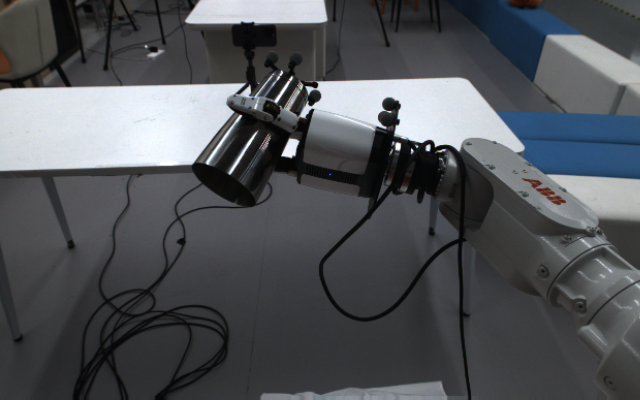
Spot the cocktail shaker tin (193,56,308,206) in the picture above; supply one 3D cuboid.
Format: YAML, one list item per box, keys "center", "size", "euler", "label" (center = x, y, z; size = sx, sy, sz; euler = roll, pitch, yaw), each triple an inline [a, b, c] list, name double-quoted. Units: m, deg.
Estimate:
- center: [-0.080, -0.089, 0.630]
  size: [0.093, 0.093, 0.170]
  euler: [18, 66, 21]
  label: "cocktail shaker tin"
